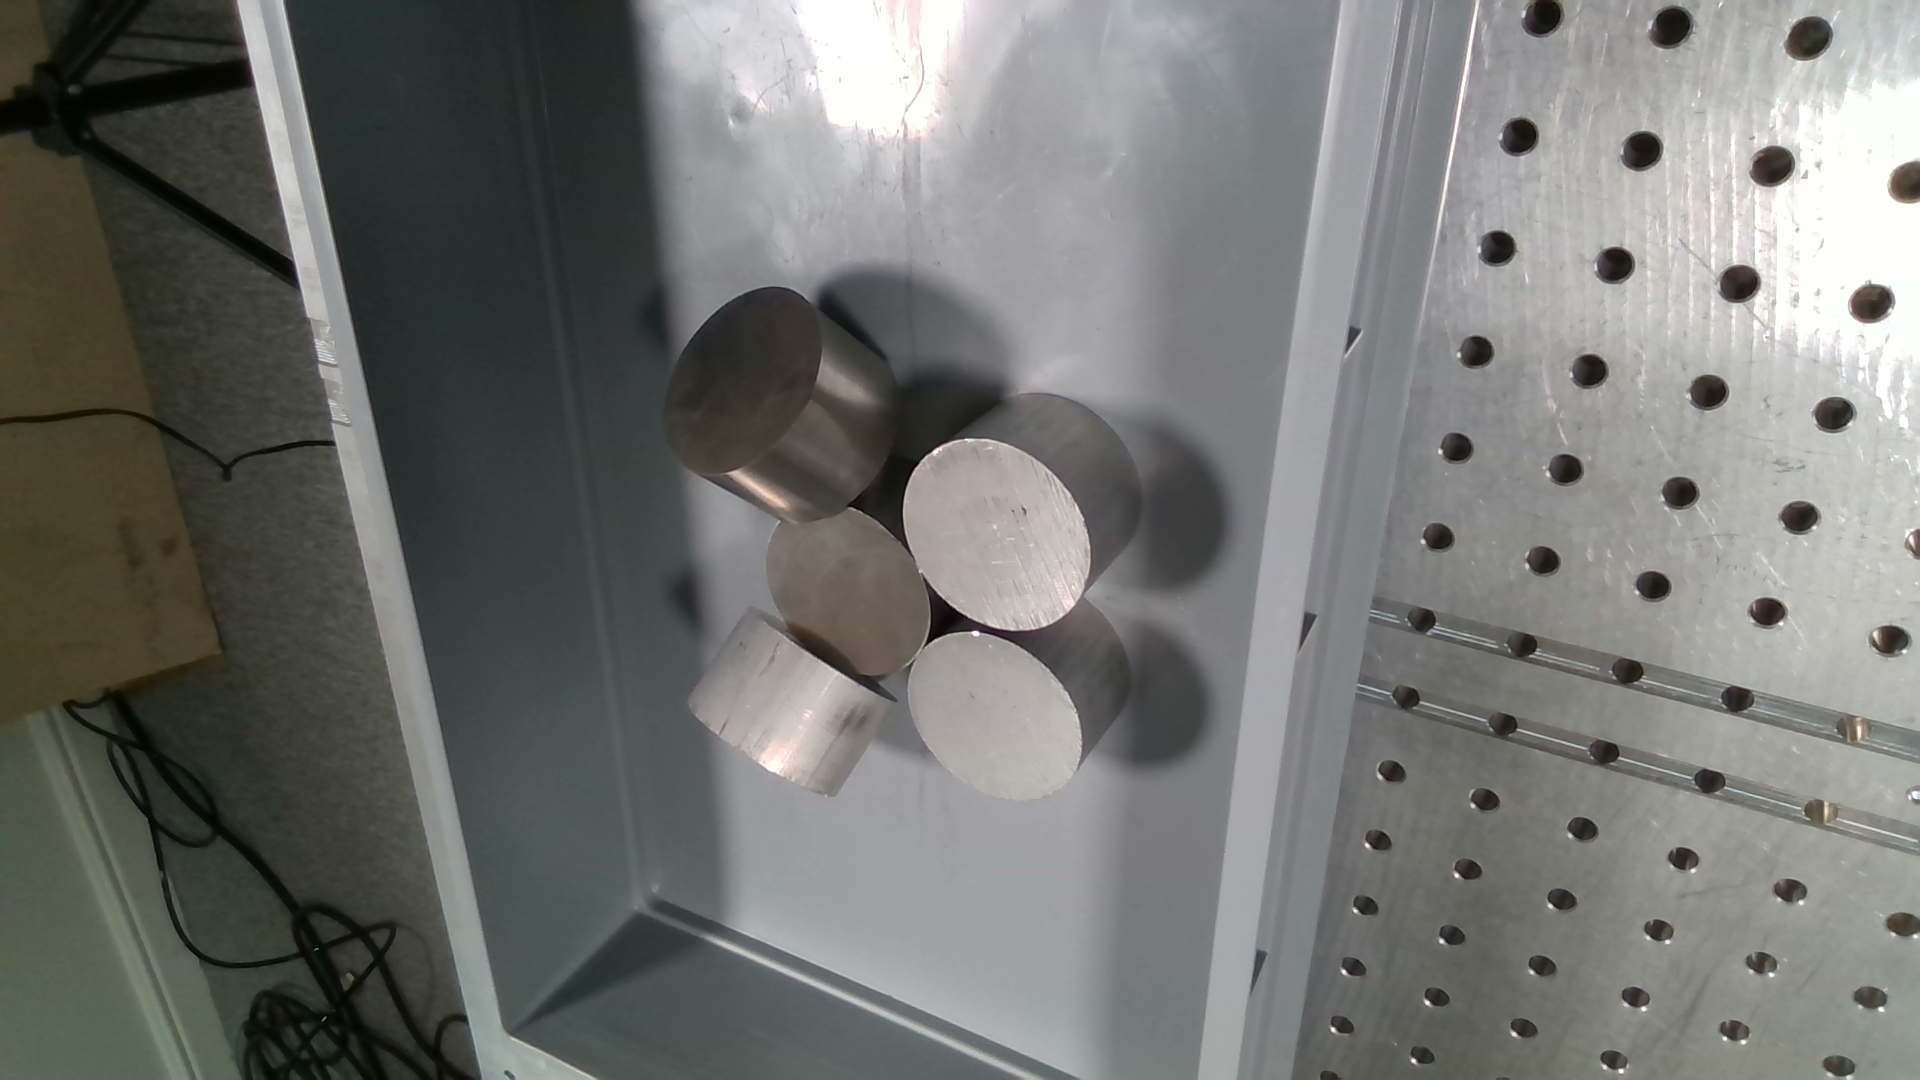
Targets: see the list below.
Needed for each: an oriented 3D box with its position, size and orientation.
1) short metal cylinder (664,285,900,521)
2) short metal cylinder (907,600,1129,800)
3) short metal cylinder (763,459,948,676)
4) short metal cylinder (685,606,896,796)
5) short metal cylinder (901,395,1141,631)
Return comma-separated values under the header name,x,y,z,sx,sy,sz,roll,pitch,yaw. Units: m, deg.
name,x,y,z,sx,sy,sz,roll,pitch,yaw
short metal cylinder,-0.071,-0.054,0.550,0.080,0.080,0.050,-6,156,34
short metal cylinder,0.025,0.062,0.581,0.080,0.050,0.080,14,122,25
short metal cylinder,-0.037,0.011,0.588,0.080,0.050,0.080,14,122,25
short metal cylinder,-0.076,0.072,0.621,0.080,0.080,0.050,32,88,13
short metal cylinder,0.024,-0.012,0.540,0.080,0.050,0.080,14,122,25
